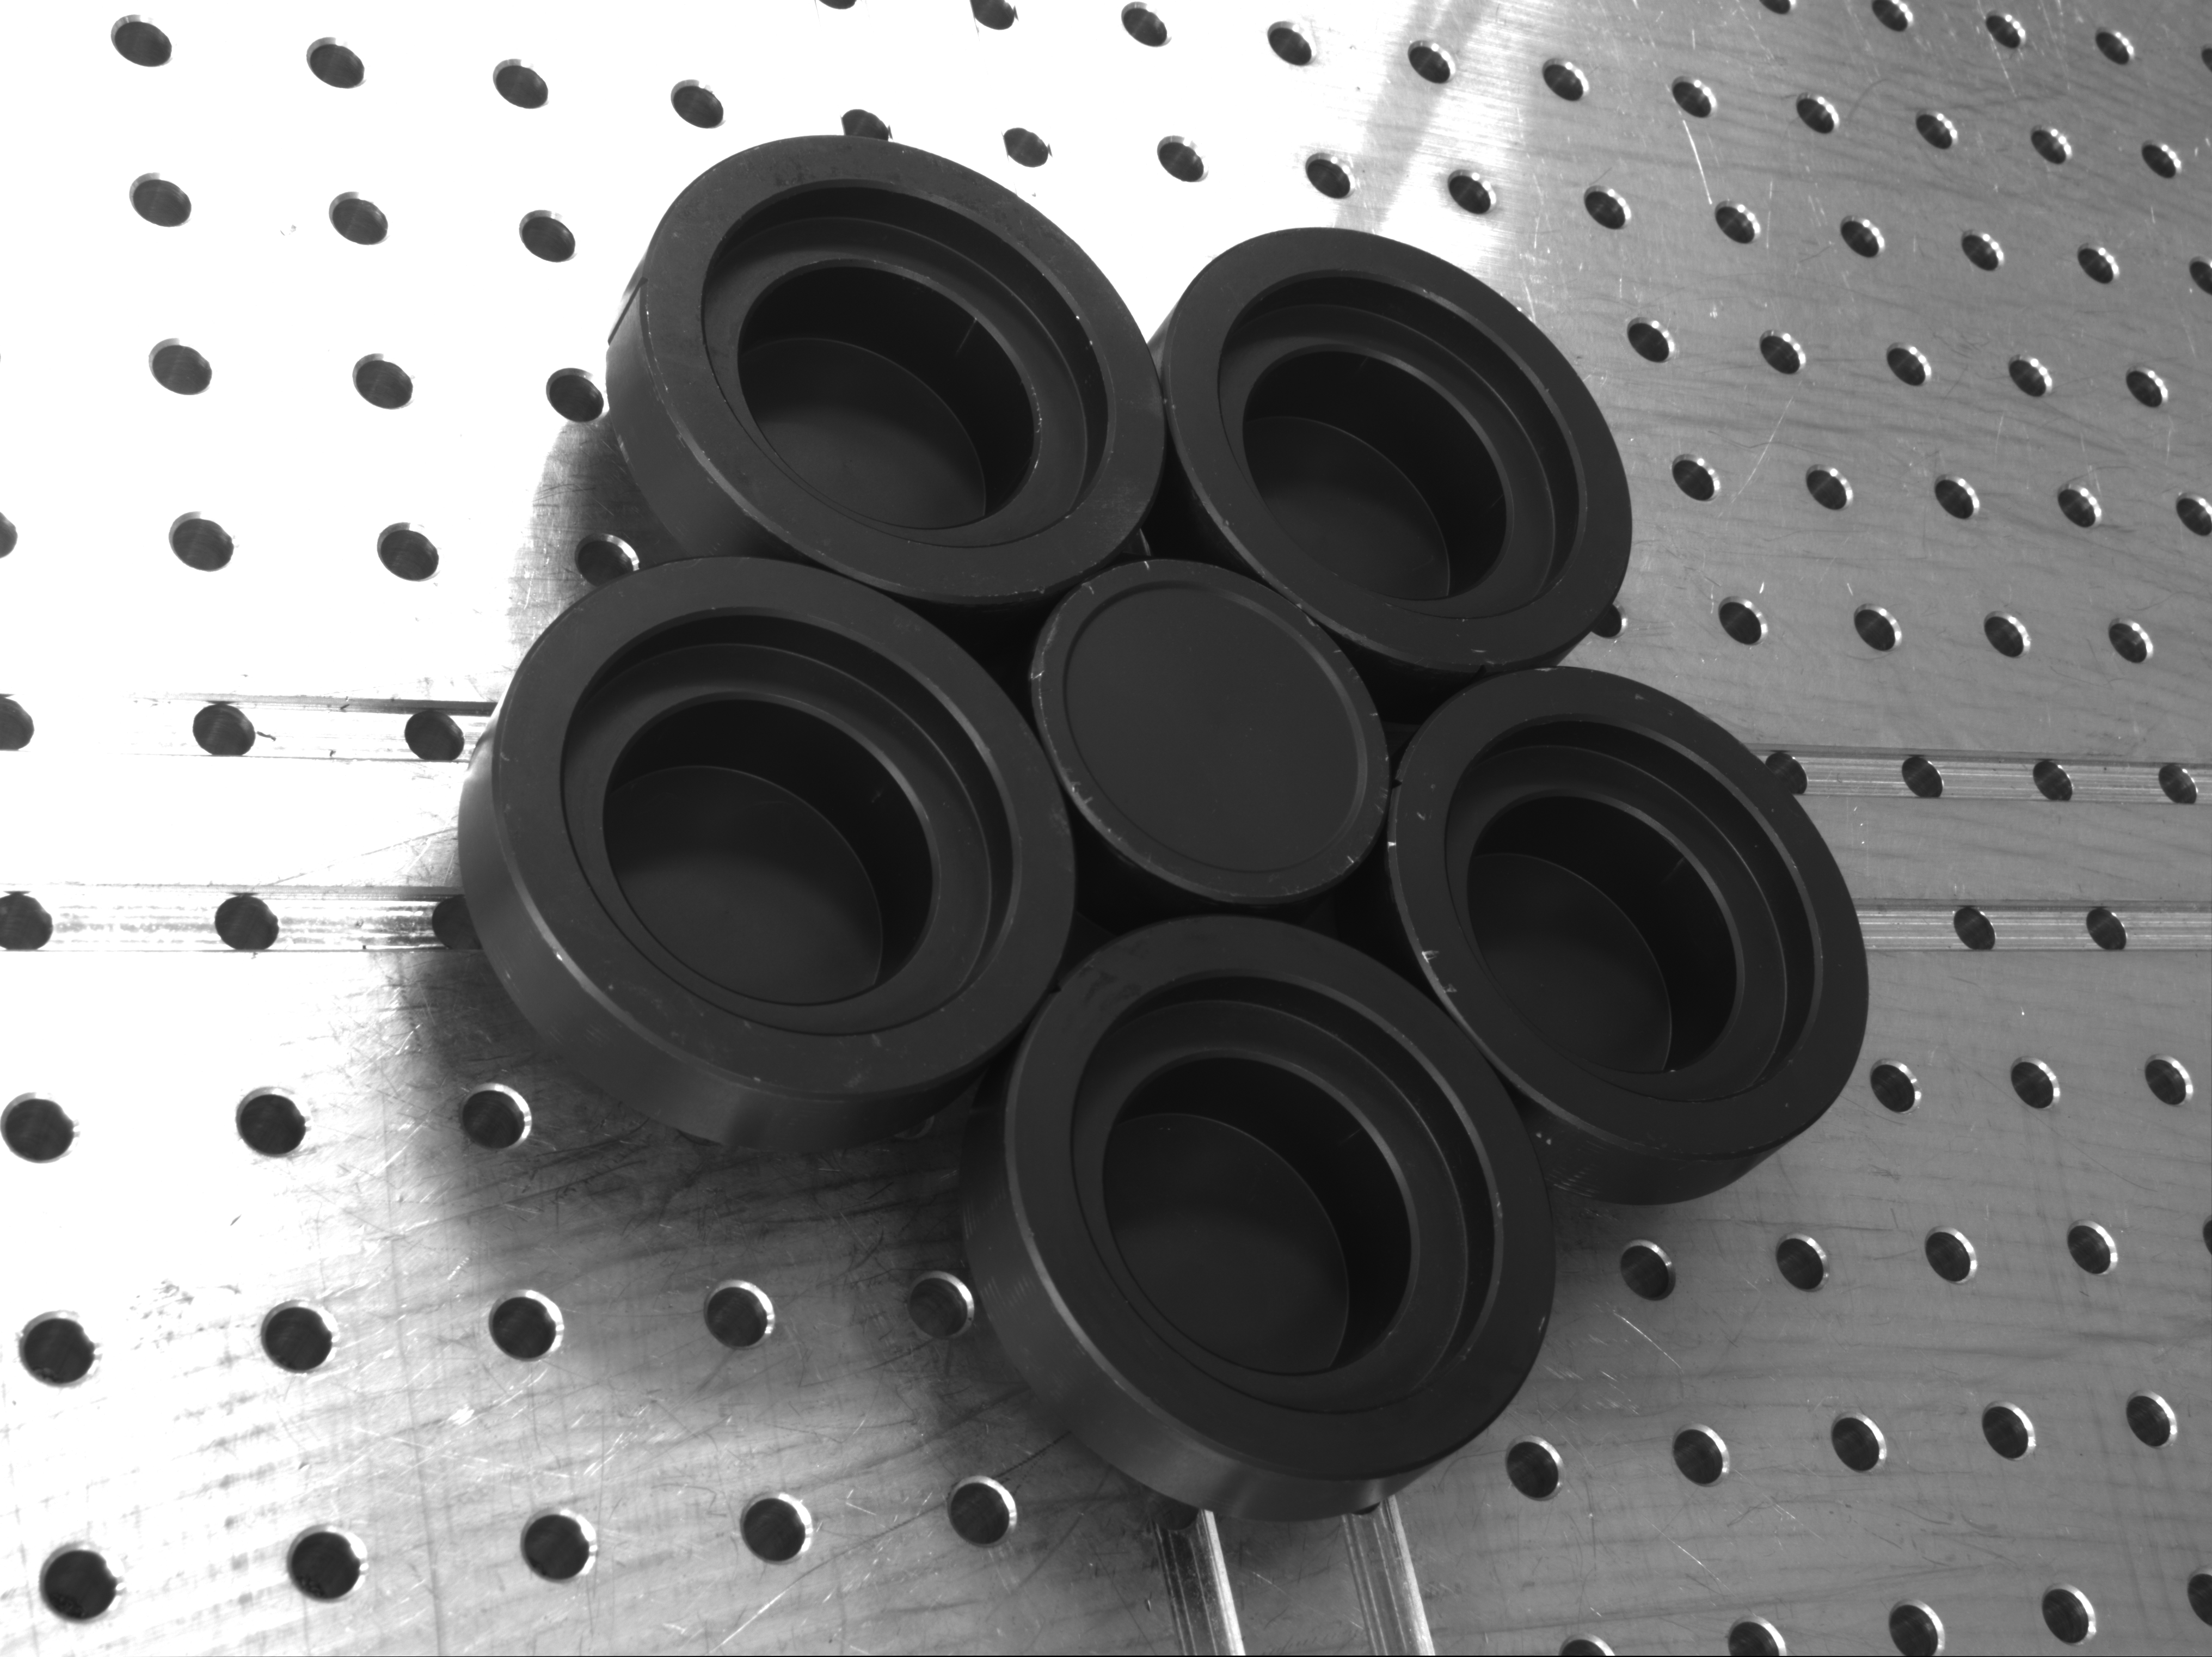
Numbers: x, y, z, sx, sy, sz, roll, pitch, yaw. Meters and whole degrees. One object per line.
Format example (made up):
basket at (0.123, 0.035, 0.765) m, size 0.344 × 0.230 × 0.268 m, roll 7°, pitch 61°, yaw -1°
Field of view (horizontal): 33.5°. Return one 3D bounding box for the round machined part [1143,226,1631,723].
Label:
round machined part at (0.046, -0.062, 0.693) m, size 0.098 × 0.042 × 0.098 m, roll 13°, pitch 56°, yaw -21°

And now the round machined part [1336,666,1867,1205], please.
round machined part at (0.084, 0.023, 0.662) m, size 0.098 × 0.042 × 0.098 m, roll 13°, pitch 56°, yaw -21°

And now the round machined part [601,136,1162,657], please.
round machined part at (-0.043, -0.071, 0.652) m, size 0.098 × 0.042 × 0.098 m, roll 13°, pitch 56°, yaw -21°

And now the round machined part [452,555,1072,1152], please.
round machined part at (-0.058, 0.008, 0.595) m, size 0.098 × 0.042 × 0.098 m, roll 13°, pitch 56°, yaw -21°

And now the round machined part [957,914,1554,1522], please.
round machined part at (0.021, 0.067, 0.601) m, size 0.098 × 0.042 × 0.098 m, roll 13°, pitch 56°, yaw -21°

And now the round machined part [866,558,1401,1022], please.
round machined part at (0.010, -0.008, 0.641) m, size 0.098 × 0.042 × 0.098 m, roll 13°, pitch 56°, yaw -21°
